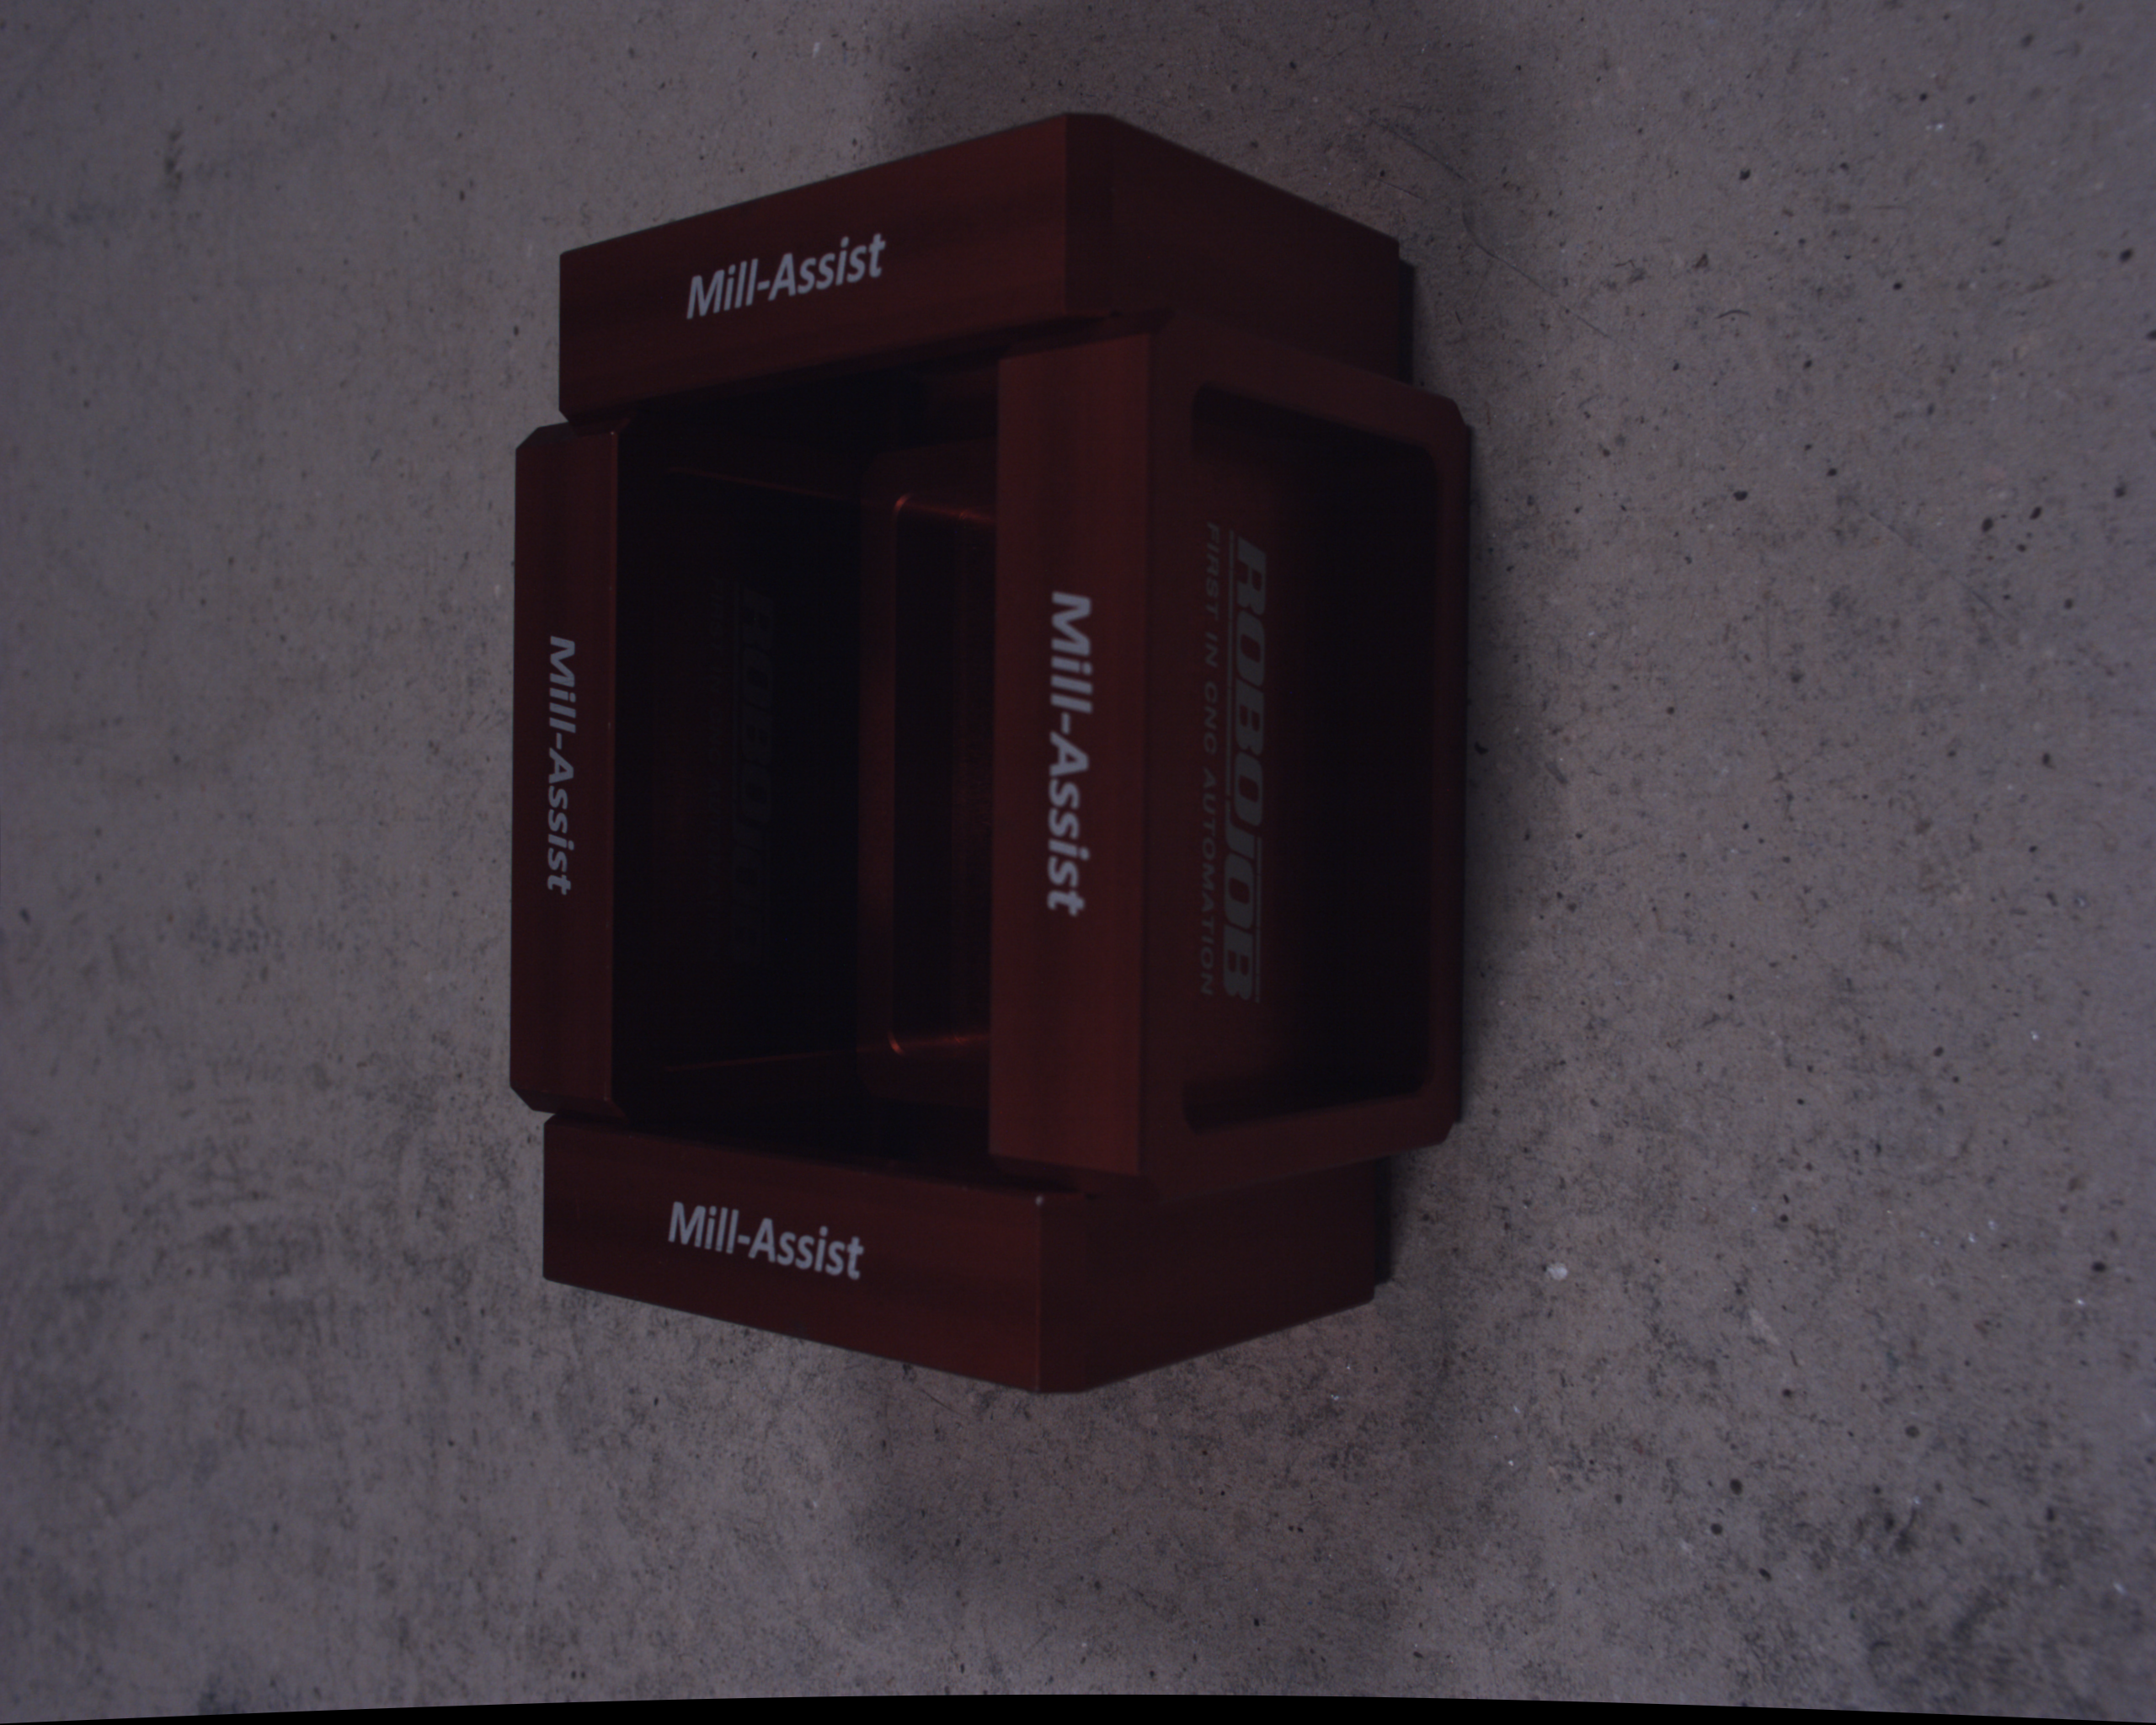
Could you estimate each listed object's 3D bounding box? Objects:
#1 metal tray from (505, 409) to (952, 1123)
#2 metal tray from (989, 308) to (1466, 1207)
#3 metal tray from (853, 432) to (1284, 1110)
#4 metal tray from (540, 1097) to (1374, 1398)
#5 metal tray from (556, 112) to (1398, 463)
[{"bbox_3d":[-0.067,-0.018,0.416,0.030,0.091,0.129,1,91,40],"label":"metal tray"},{"bbox_3d":[0.027,-0.015,0.339,0.030,0.091,0.129,1,91,40],"label":"metal tray"},{"bbox_3d":[-0.001,-0.017,0.402,0.090,0.030,0.129,1,91,39],"label":"metal tray"},{"bbox_3d":[-0.023,0.063,0.381,0.130,0.091,0.030,1,91,39],"label":"metal tray"},{"bbox_3d":[-0.020,-0.096,0.378,0.130,0.091,0.030,1,91,39],"label":"metal tray"}]
